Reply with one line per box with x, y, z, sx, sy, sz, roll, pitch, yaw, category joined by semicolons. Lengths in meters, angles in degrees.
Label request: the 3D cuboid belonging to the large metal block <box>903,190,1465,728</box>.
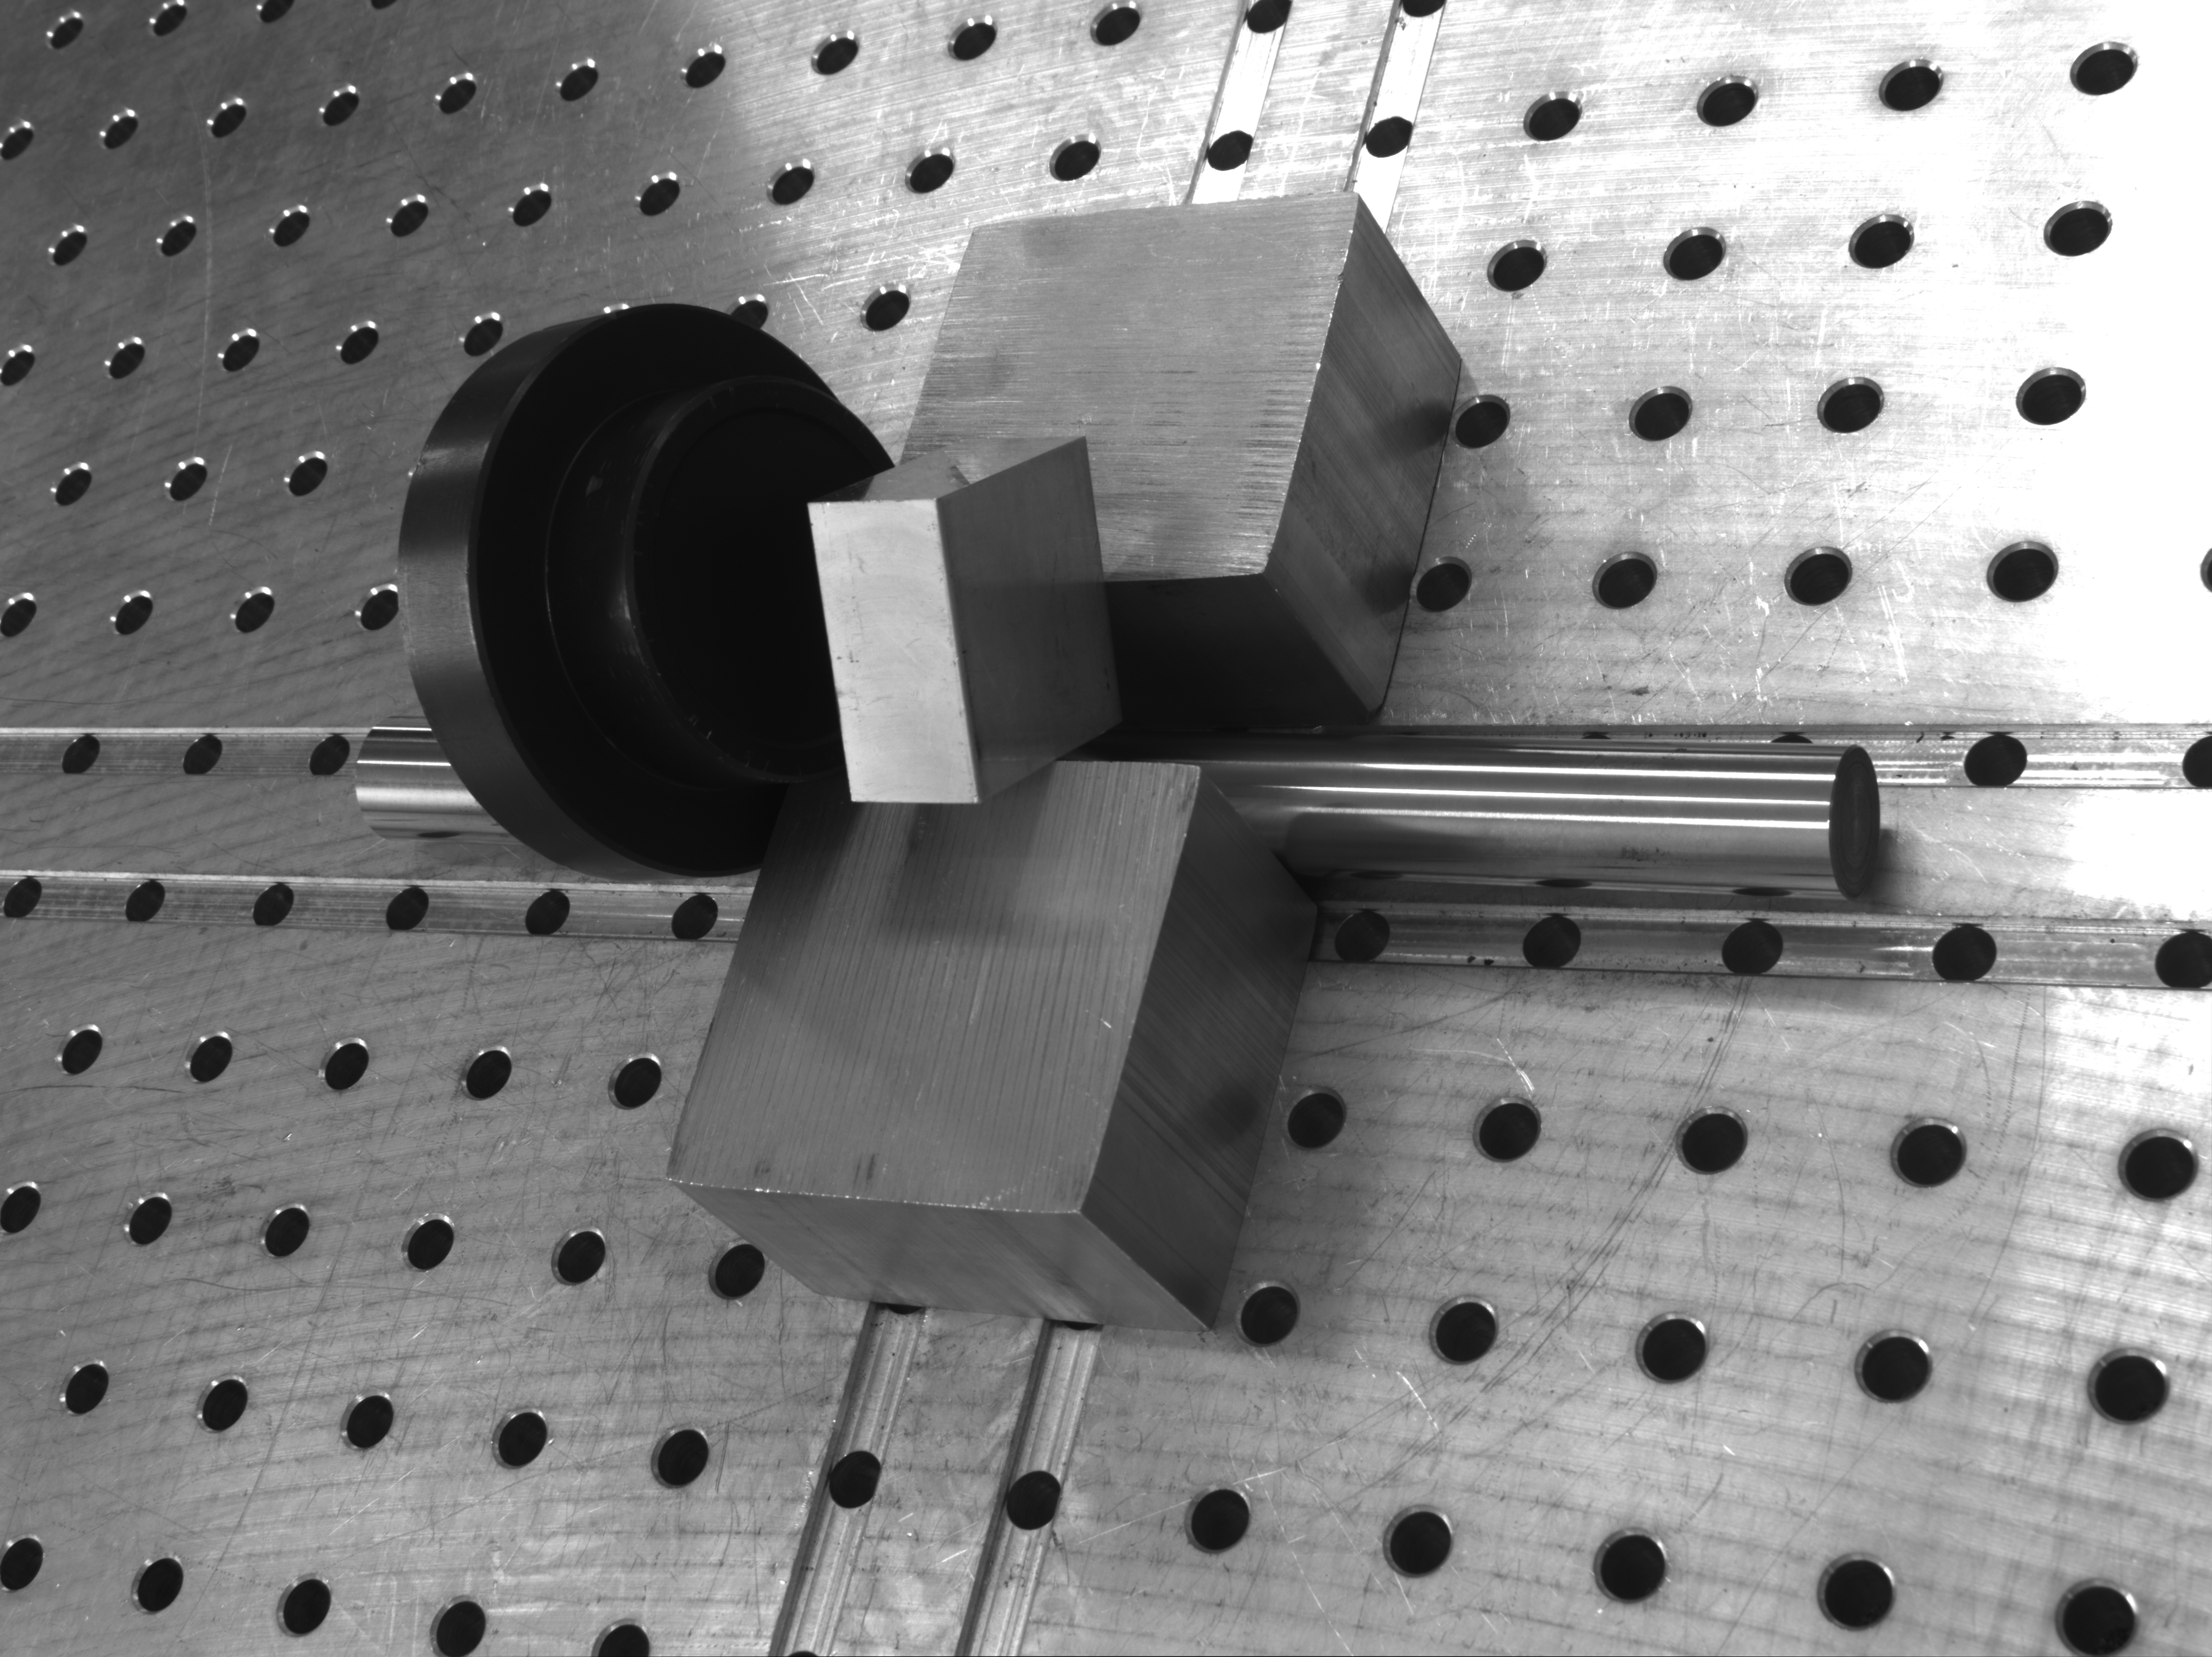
0.012;-0.065;0.666;0.080;0.050;0.080;1;62;29;large metal block

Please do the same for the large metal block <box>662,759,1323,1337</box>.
-0.018;0.036;0.620;0.080;0.050;0.080;1;62;29;large metal block

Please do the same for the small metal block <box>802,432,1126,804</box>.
-0.023;-0.035;0.610;0.025;0.050;0.050;1;18;29;small metal block

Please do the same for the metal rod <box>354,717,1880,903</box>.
-0.011;-0.005;0.658;0.299;0.025;0.025;2;63;29;metal rod

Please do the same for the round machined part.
-0.068;-0.041;0.626;0.042;0.098;0.098;-4;58;43;round machined part
